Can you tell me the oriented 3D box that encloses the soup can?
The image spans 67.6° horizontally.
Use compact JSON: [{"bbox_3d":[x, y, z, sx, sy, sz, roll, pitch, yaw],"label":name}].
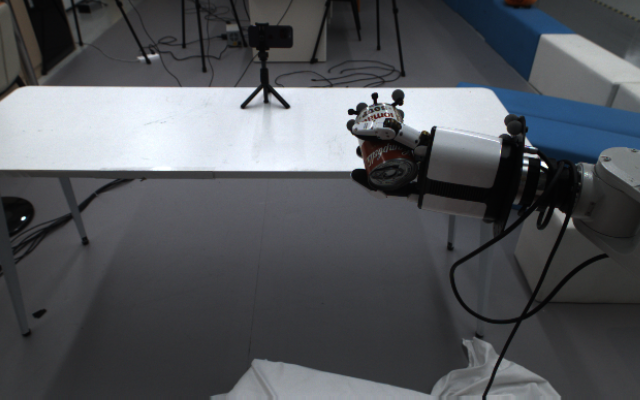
[{"bbox_3d":[0.090,-0.074,0.660,0.067,0.067,0.101,-5,57,-10],"label":"soup can"}]
